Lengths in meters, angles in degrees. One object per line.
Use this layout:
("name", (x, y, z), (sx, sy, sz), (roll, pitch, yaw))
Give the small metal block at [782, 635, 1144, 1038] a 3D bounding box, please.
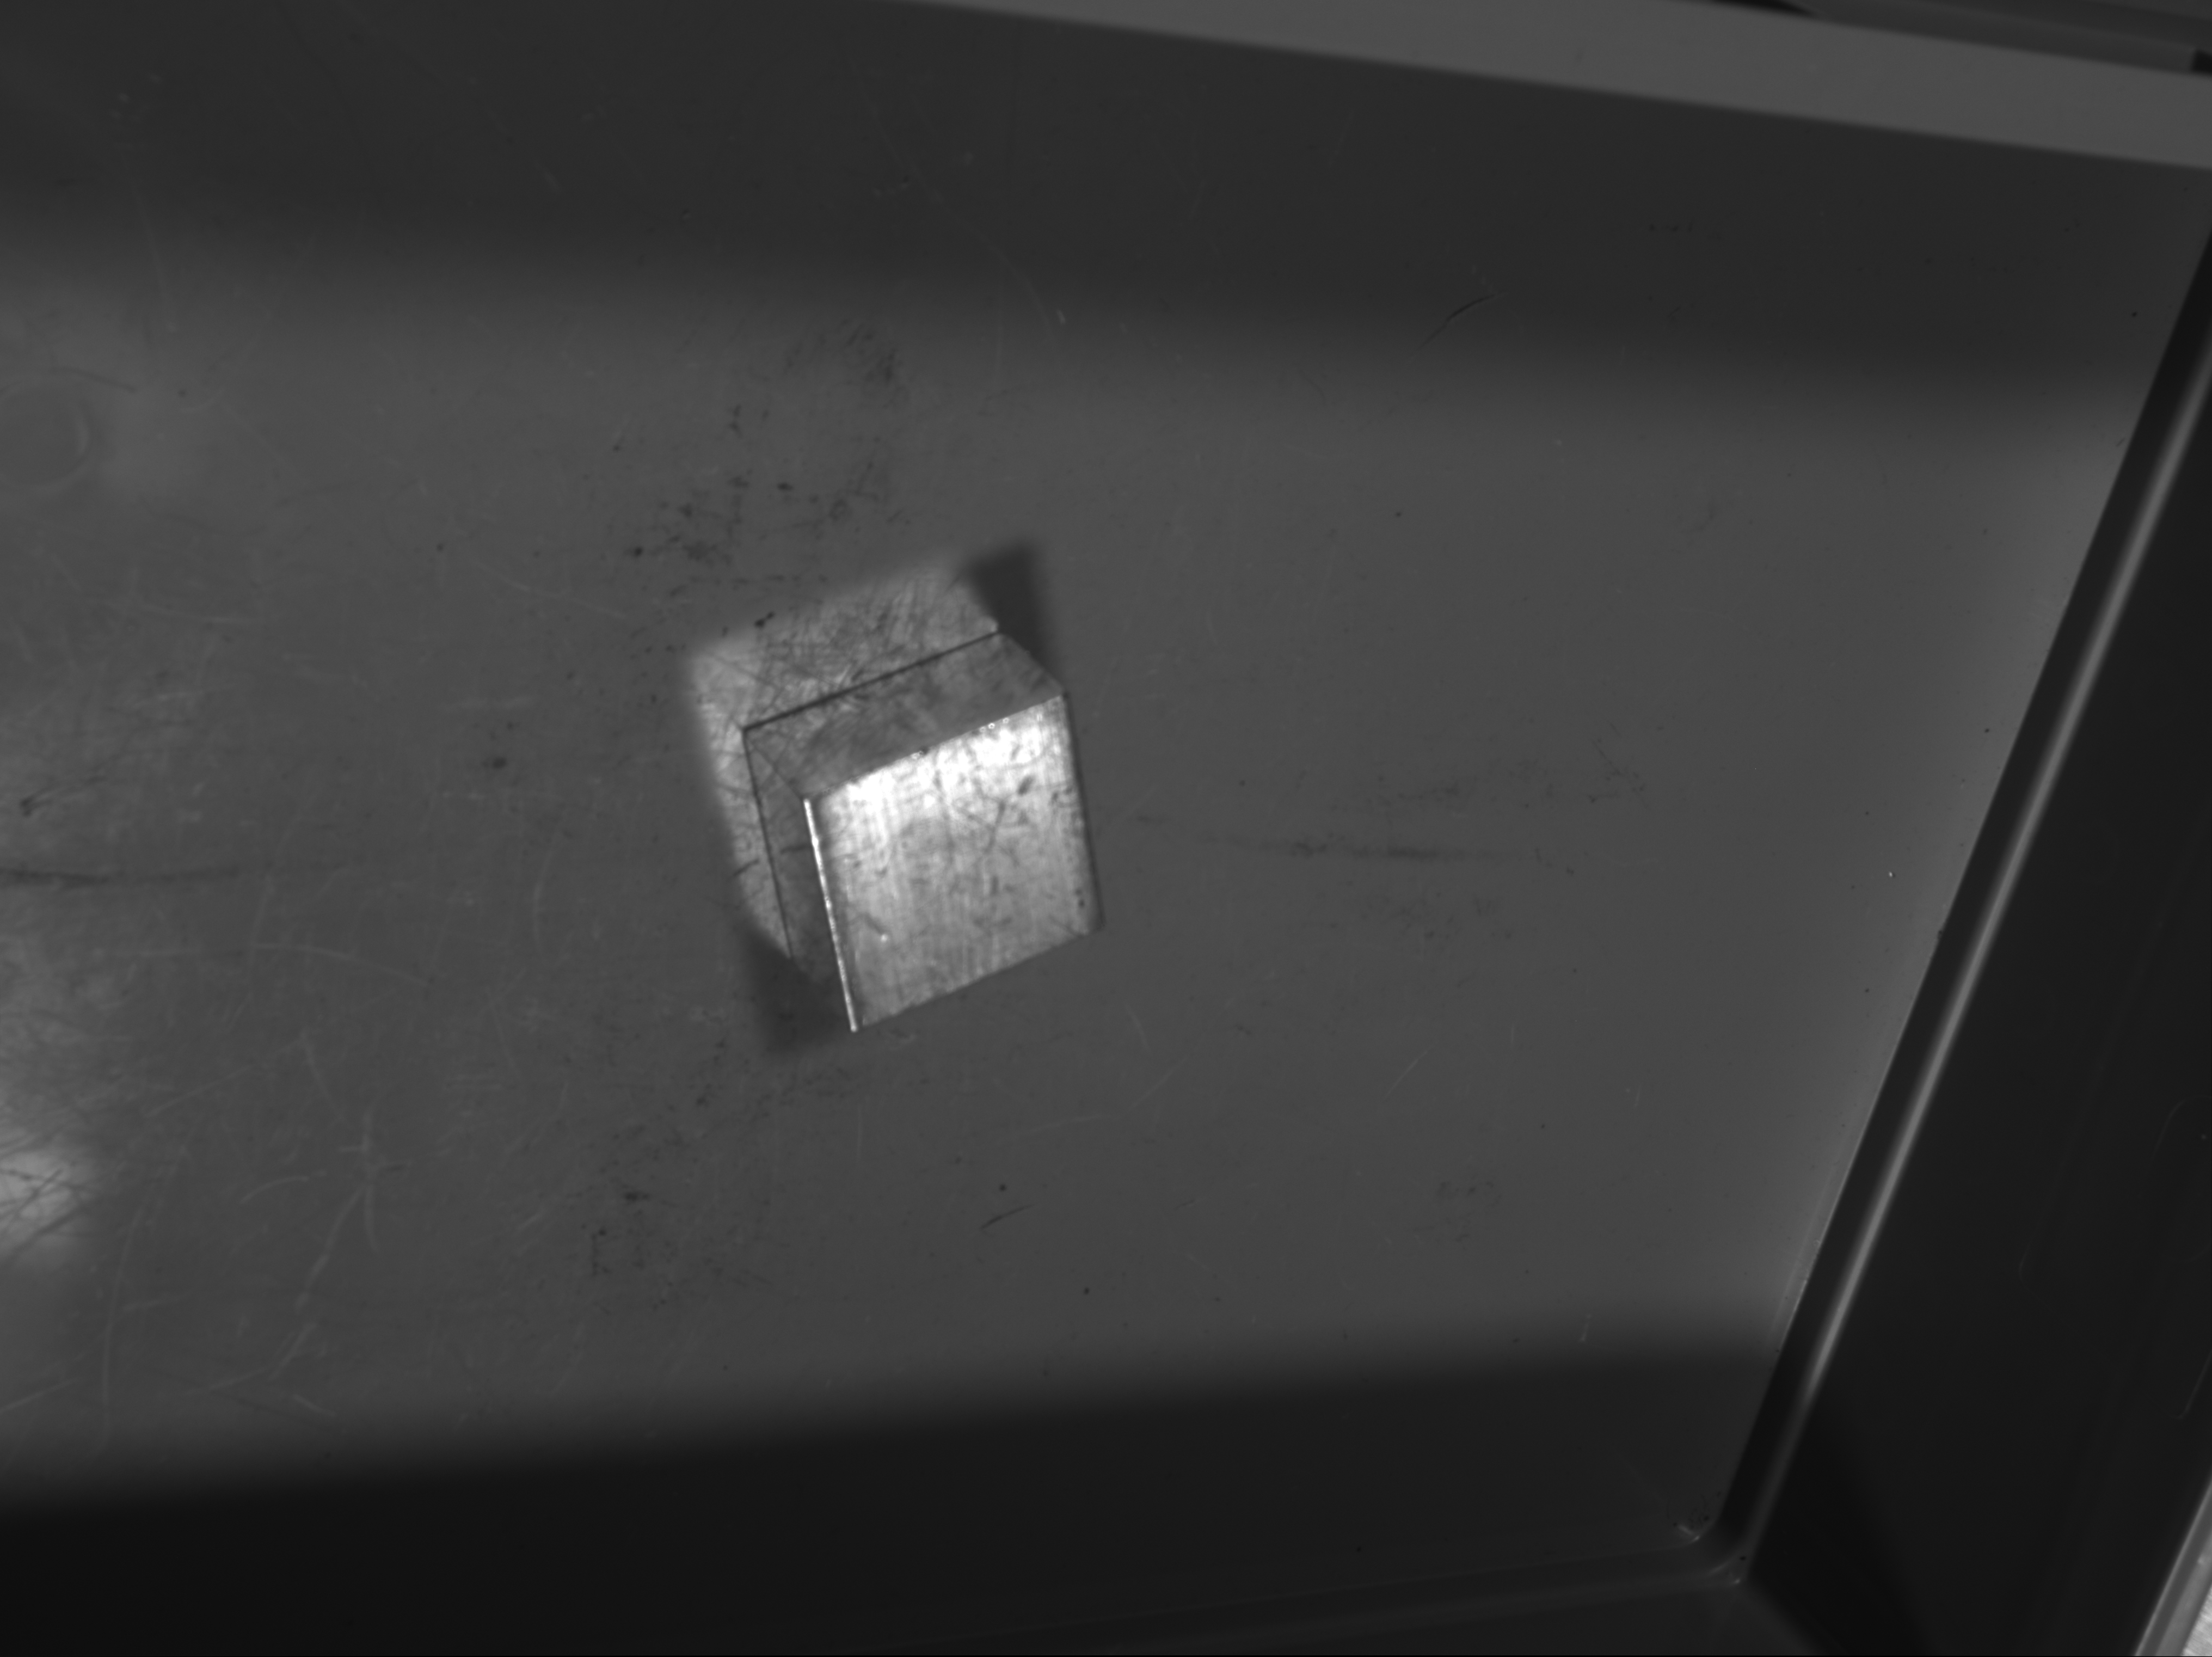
("small metal block", (-0.024, 0.001, 0.634), (0.050, 0.025, 0.050), (-21, 127, -18))
